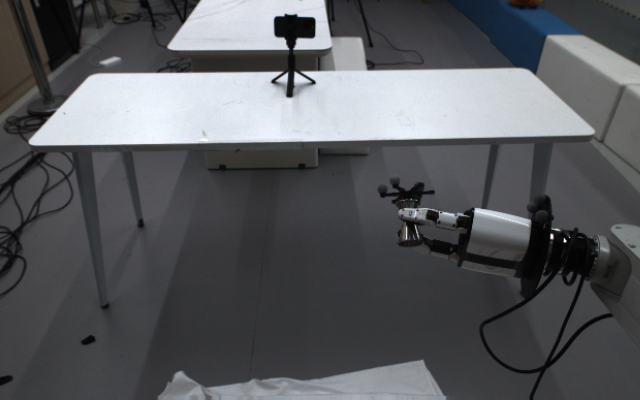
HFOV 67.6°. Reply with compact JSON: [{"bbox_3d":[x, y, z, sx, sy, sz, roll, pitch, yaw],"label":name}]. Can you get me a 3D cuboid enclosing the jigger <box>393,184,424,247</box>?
[{"bbox_3d":[0.143,0.034,0.774,0.043,0.043,0.071,1,70,-2],"label":"jigger"}]
